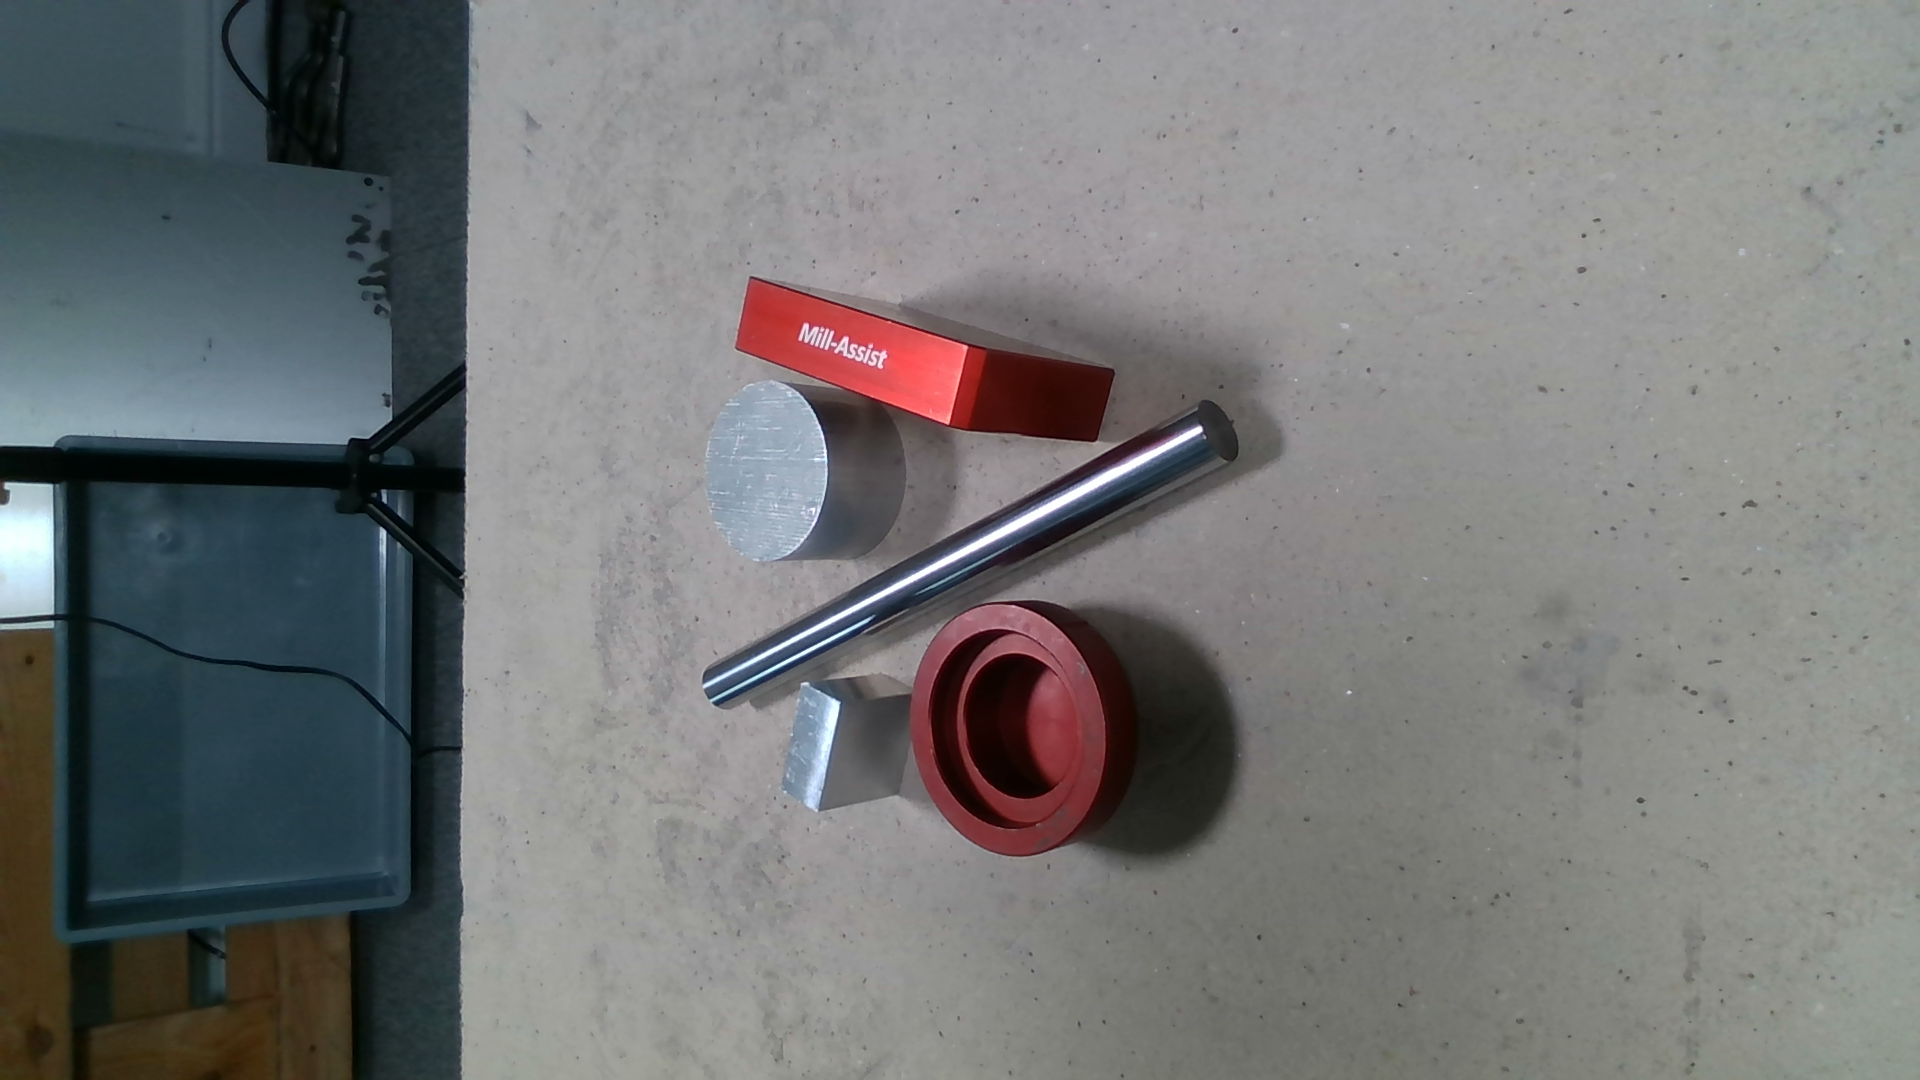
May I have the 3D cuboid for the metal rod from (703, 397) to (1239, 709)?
[{"bbox_3d":[-0.012,0.016,0.593,0.300,0.025,0.025,-28,73,37],"label":"metal rod"}]

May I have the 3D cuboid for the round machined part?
[{"bbox_3d":[0.030,0.073,0.547,0.098,0.042,0.098,0,91,40],"label":"round machined part"}]

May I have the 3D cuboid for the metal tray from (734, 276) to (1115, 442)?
[{"bbox_3d":[-0.016,-0.073,0.552,0.130,0.090,0.030,23,105,38],"label":"metal tray"}]

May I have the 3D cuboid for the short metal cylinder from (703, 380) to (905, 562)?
[{"bbox_3d":[-0.071,-0.030,0.625,0.080,0.050,0.080,0,91,40],"label":"short metal cylinder"}]

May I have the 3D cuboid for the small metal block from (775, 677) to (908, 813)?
[{"bbox_3d":[-0.050,0.088,0.605,0.025,0.050,0.050,21,104,38],"label":"small metal block"}]
